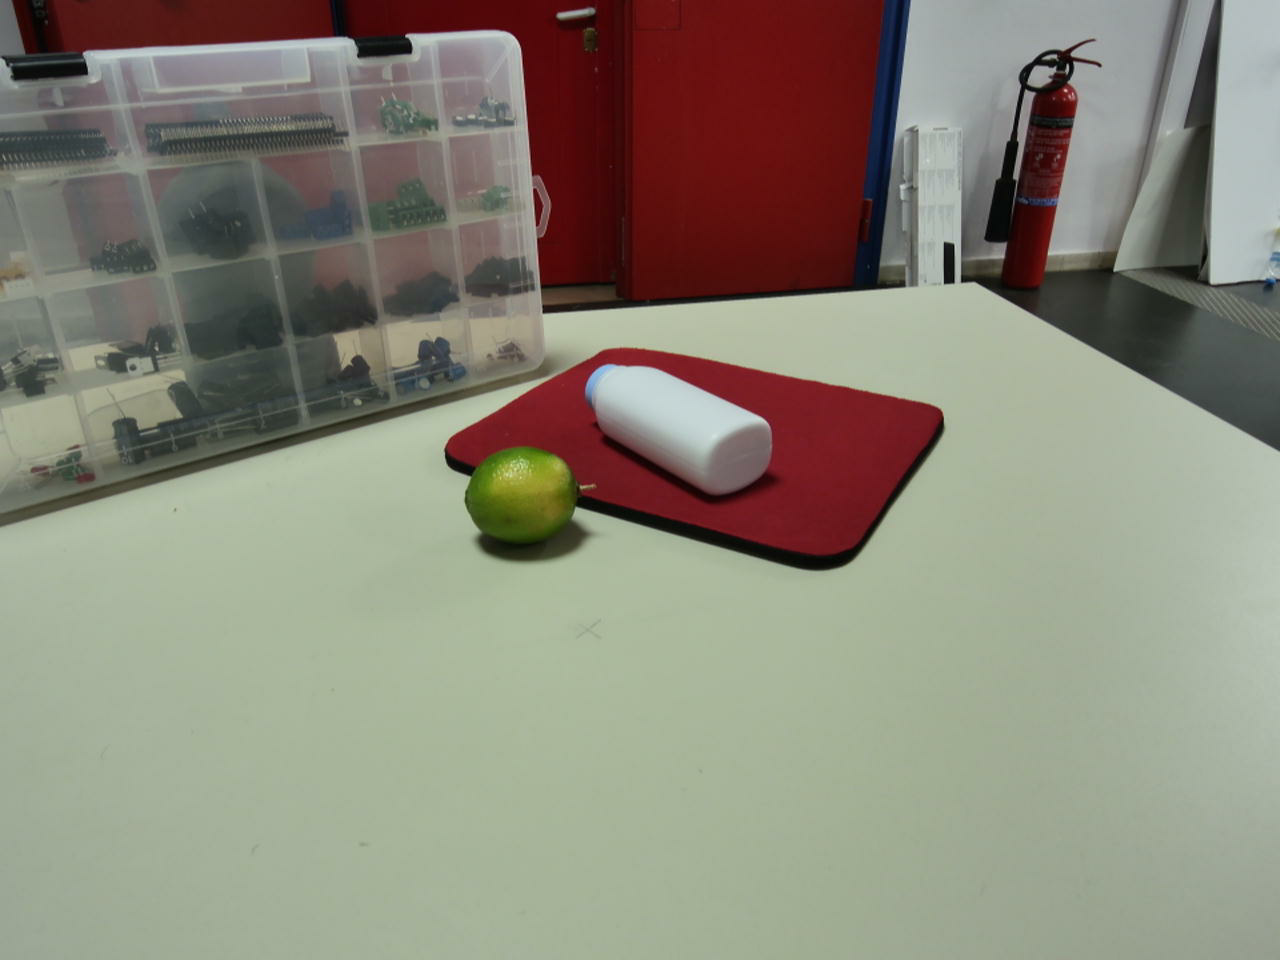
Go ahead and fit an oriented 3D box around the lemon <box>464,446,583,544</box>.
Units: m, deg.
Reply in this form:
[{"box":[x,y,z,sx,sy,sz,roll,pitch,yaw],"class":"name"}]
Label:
[{"box":[-0.062,0.008,0.524,0.055,0.050,0.054,18,31,33],"class":"lemon"}]
